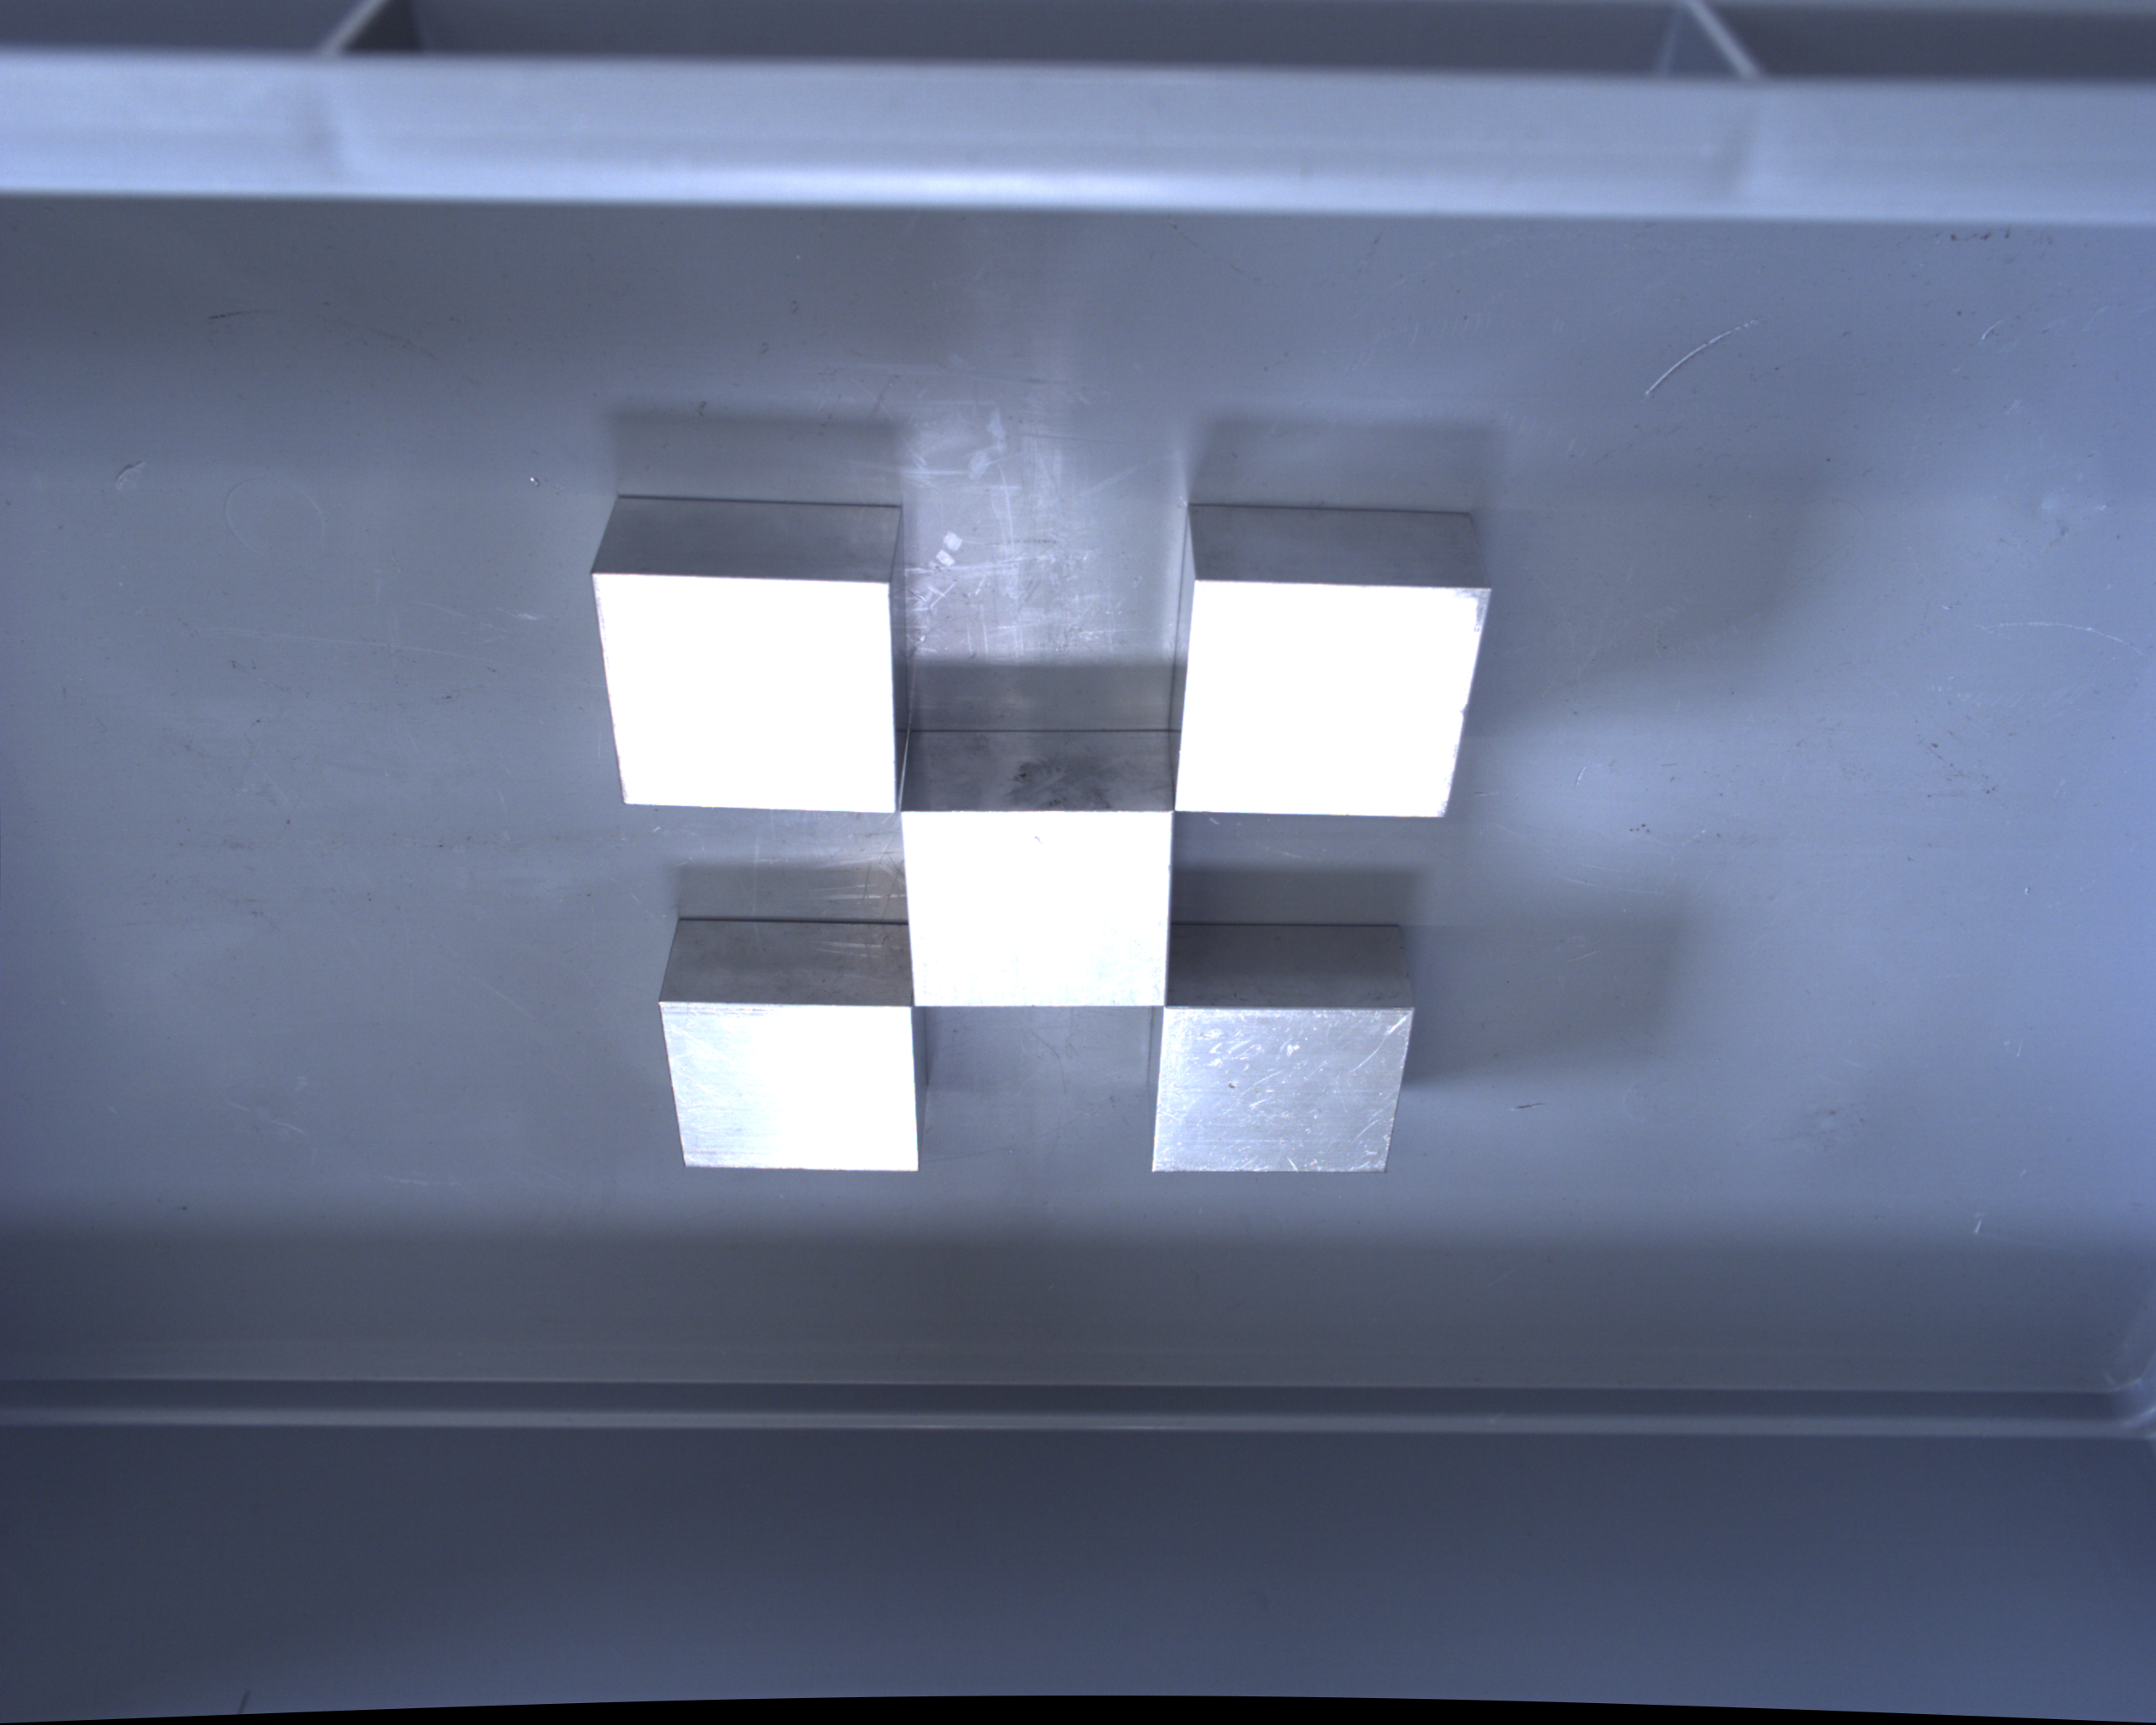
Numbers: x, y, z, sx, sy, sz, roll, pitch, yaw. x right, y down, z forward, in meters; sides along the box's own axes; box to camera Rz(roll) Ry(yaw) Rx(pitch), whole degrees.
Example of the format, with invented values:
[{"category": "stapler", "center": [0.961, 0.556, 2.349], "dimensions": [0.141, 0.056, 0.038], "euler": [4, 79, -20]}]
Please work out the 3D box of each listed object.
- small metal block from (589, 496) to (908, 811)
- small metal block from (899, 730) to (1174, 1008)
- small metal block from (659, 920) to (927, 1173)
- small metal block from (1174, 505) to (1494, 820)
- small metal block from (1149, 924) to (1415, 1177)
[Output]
[{"category": "small metal block", "center": [-0.057, -0.037, 0.374], "dimensions": [0.050, 0.025, 0.050], "euler": [1, 130, -1]}, {"category": "small metal block", "center": [-0.008, 0.002, 0.407], "dimensions": [0.050, 0.025, 0.050], "euler": [0, 130, -1]}, {"category": "small metal block", "center": [-0.058, 0.039, 0.439], "dimensions": [0.050, 0.025, 0.050], "euler": [0, 130, -1]}, {"category": "small metal block", "center": [0.044, -0.035, 0.376], "dimensions": [0.050, 0.025, 0.050], "euler": [2, 130, -2]}, {"category": "small metal block", "center": [0.041, 0.040, 0.440], "dimensions": [0.050, 0.025, 0.050], "euler": [1, 130, -1]}]
